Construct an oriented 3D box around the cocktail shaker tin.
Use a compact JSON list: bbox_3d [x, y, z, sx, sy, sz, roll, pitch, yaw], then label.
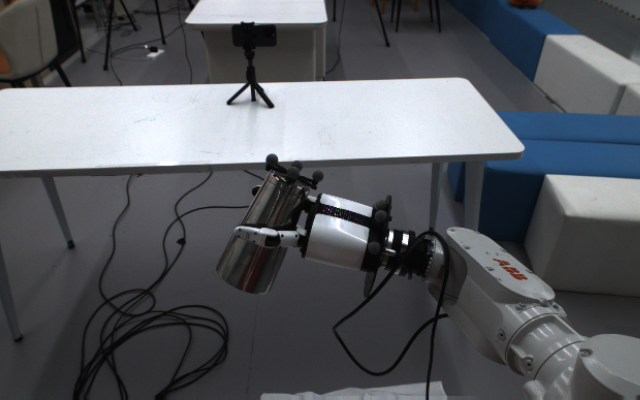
[{"bbox_3d":[-0.078,0.043,0.725,0.093,0.170,0.093,24,13,-6],"label":"cocktail shaker tin"}]
